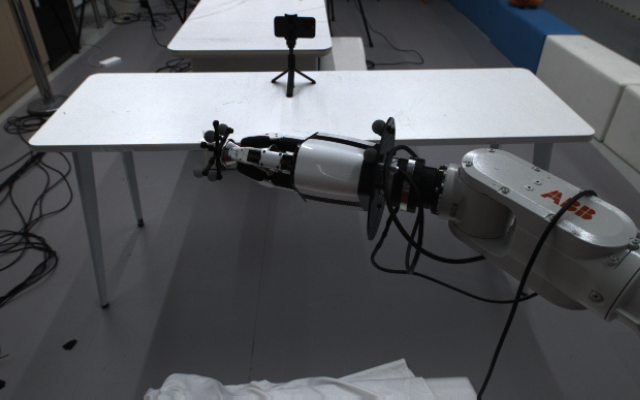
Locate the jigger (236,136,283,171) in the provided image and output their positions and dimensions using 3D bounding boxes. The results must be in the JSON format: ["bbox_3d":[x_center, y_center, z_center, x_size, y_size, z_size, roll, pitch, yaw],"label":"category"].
[{"bbox_3d":[-0.091,-0.063,0.668,0.071,0.043,0.043,10,35,16],"label":"jigger"}]
